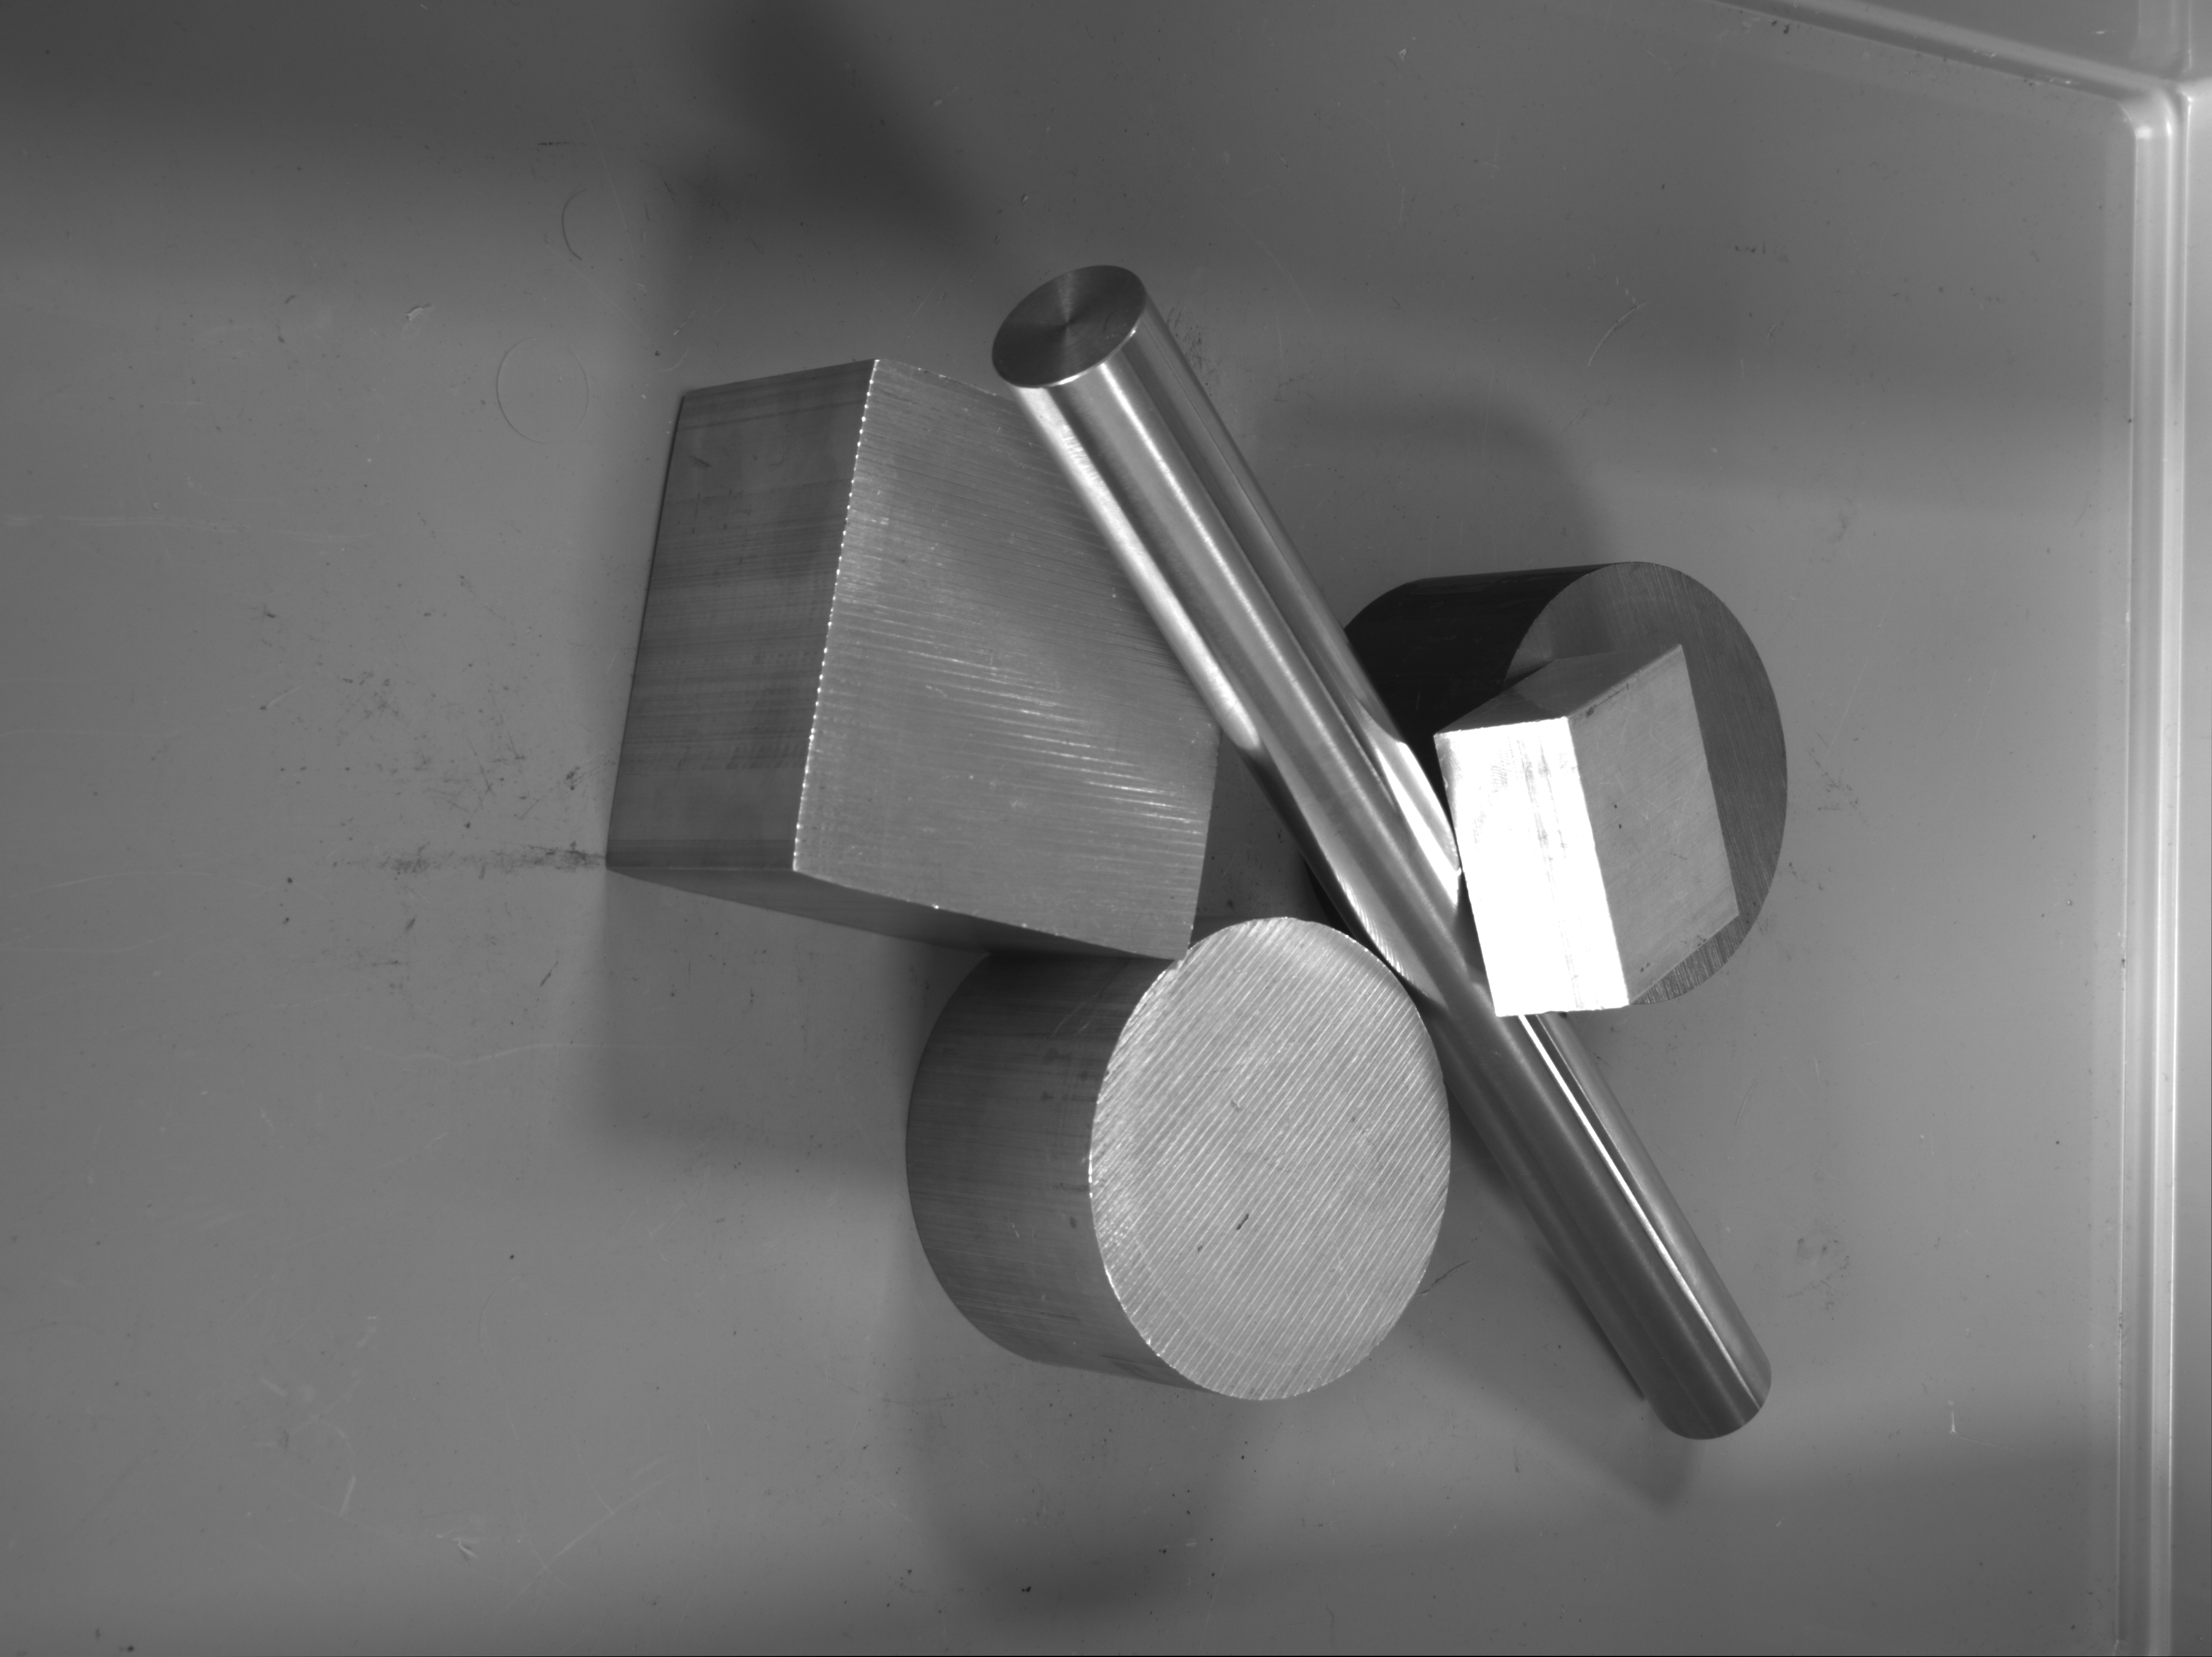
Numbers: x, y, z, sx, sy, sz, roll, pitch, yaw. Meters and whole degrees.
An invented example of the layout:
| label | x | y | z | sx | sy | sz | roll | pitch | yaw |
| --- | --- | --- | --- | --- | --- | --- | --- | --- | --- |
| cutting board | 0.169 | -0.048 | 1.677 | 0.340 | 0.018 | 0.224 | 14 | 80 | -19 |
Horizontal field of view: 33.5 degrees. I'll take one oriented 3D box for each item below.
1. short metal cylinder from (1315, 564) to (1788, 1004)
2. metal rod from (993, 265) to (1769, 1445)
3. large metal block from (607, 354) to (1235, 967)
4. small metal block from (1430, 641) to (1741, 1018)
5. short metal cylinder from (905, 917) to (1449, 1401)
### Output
| label | x | y | z | sx | sy | sz | roll | pitch | yaw |
| --- | --- | --- | --- | --- | --- | --- | --- | --- | --- |
| short metal cylinder | 0.082 | -0.008 | 0.687 | 0.080 | 0.050 | 0.080 | 0 | 90 | -40 |
| metal rod | 0.058 | 0.020 | 0.637 | 0.025 | 0.025 | 0.301 | -57 | 137 | -24 |
| large metal block | -0.027 | -0.025 | 0.594 | 0.080 | 0.050 | 0.080 | 14 | 81 | -39 |
| small metal block | 0.083 | 0.000 | 0.630 | 0.050 | 0.025 | 0.050 | -30 | 109 | -54 |
| short metal cylinder | 0.013 | 0.055 | 0.629 | 0.080 | 0.050 | 0.080 | 0 | 90 | -40 |
